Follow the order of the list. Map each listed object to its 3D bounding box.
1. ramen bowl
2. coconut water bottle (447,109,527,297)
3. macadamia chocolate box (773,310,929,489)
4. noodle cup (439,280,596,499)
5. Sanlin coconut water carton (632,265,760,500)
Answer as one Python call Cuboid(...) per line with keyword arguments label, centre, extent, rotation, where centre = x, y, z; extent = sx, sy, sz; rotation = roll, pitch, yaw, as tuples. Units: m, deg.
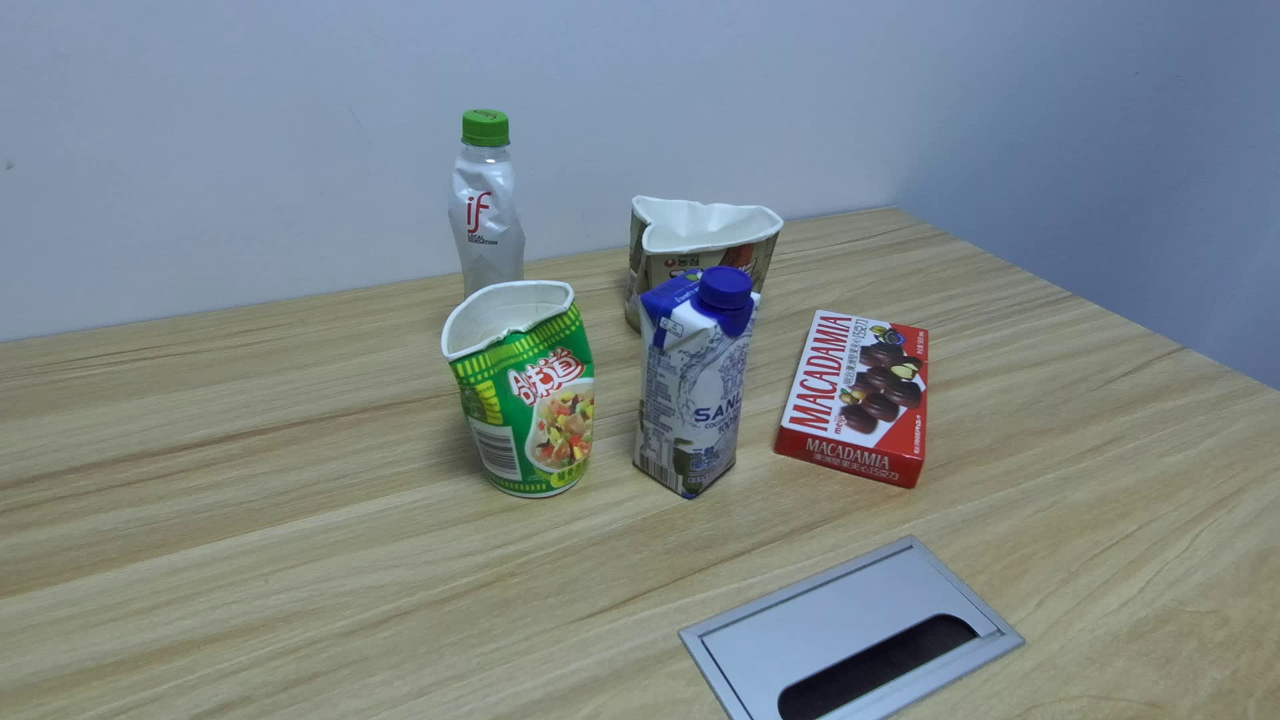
Cuboid(label="ramen bowl", centre=(0.055, -0.079, 0.606), extent=(0.134, 0.097, 0.113), rotation=(-5, 34, -12))
Cuboid(label="coconut water bottle", centre=(-0.108, -0.082, 0.517), extent=(0.067, 0.187, 0.067), rotation=(2, 28, -1))
Cuboid(label="macadamia chocolate box", centre=(0.165, 0.020, 0.531), extent=(0.095, 0.027, 0.178), rotation=(13, 34, 16))
Cuboid(label="noodle cup", centre=(-0.067, 0.019, 0.434), extent=(0.083, 0.122, 0.075), rotation=(-18, 29, -13))
Cuboid(label="Sanlin coconut water carton", centre=(0.033, 0.010, 0.426), extent=(0.060, 0.144, 0.061), rotation=(26, 40, 33))
